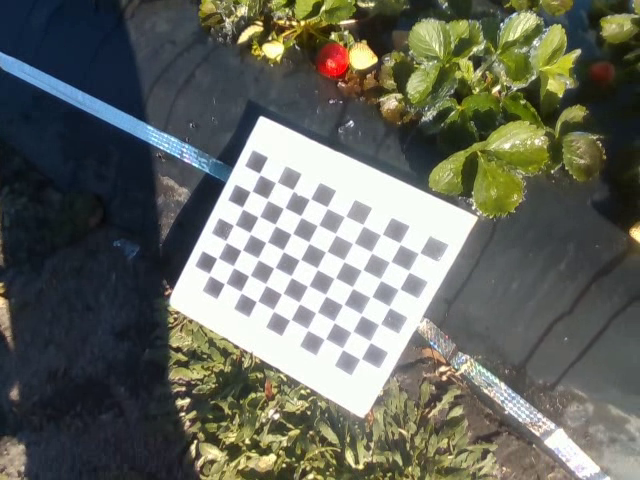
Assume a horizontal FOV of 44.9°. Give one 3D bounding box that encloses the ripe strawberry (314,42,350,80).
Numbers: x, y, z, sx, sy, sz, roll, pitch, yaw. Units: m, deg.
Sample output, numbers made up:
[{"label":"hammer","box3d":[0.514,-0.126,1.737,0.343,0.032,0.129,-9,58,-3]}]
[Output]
[{"label":"ripe strawberry","box3d":[0.013,-0.197,0.830,0.040,0.042,0.053,-10,18,10]}]
